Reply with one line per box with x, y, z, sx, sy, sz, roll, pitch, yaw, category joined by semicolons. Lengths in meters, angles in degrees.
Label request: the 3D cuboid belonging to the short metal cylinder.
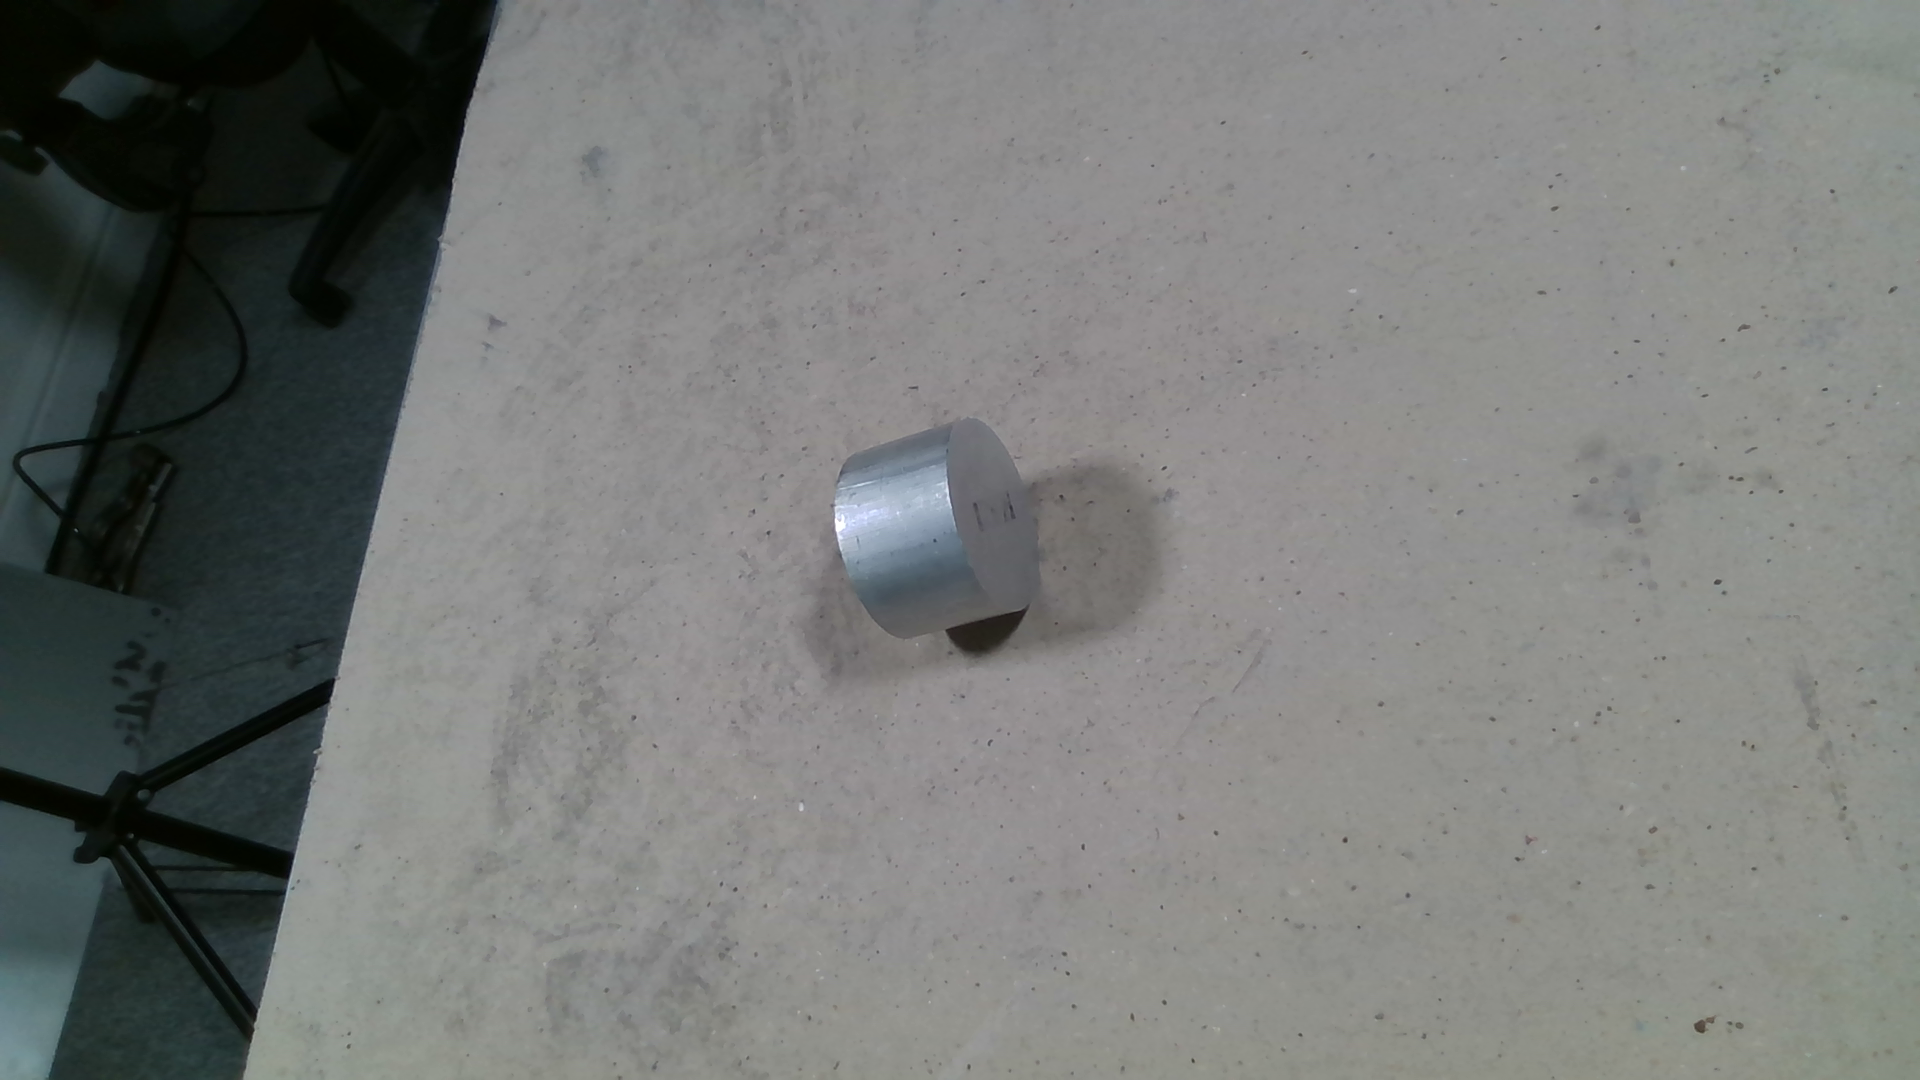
-0.008;-0.004;0.558;0.050;0.080;0.080;-15;58;24;short metal cylinder
